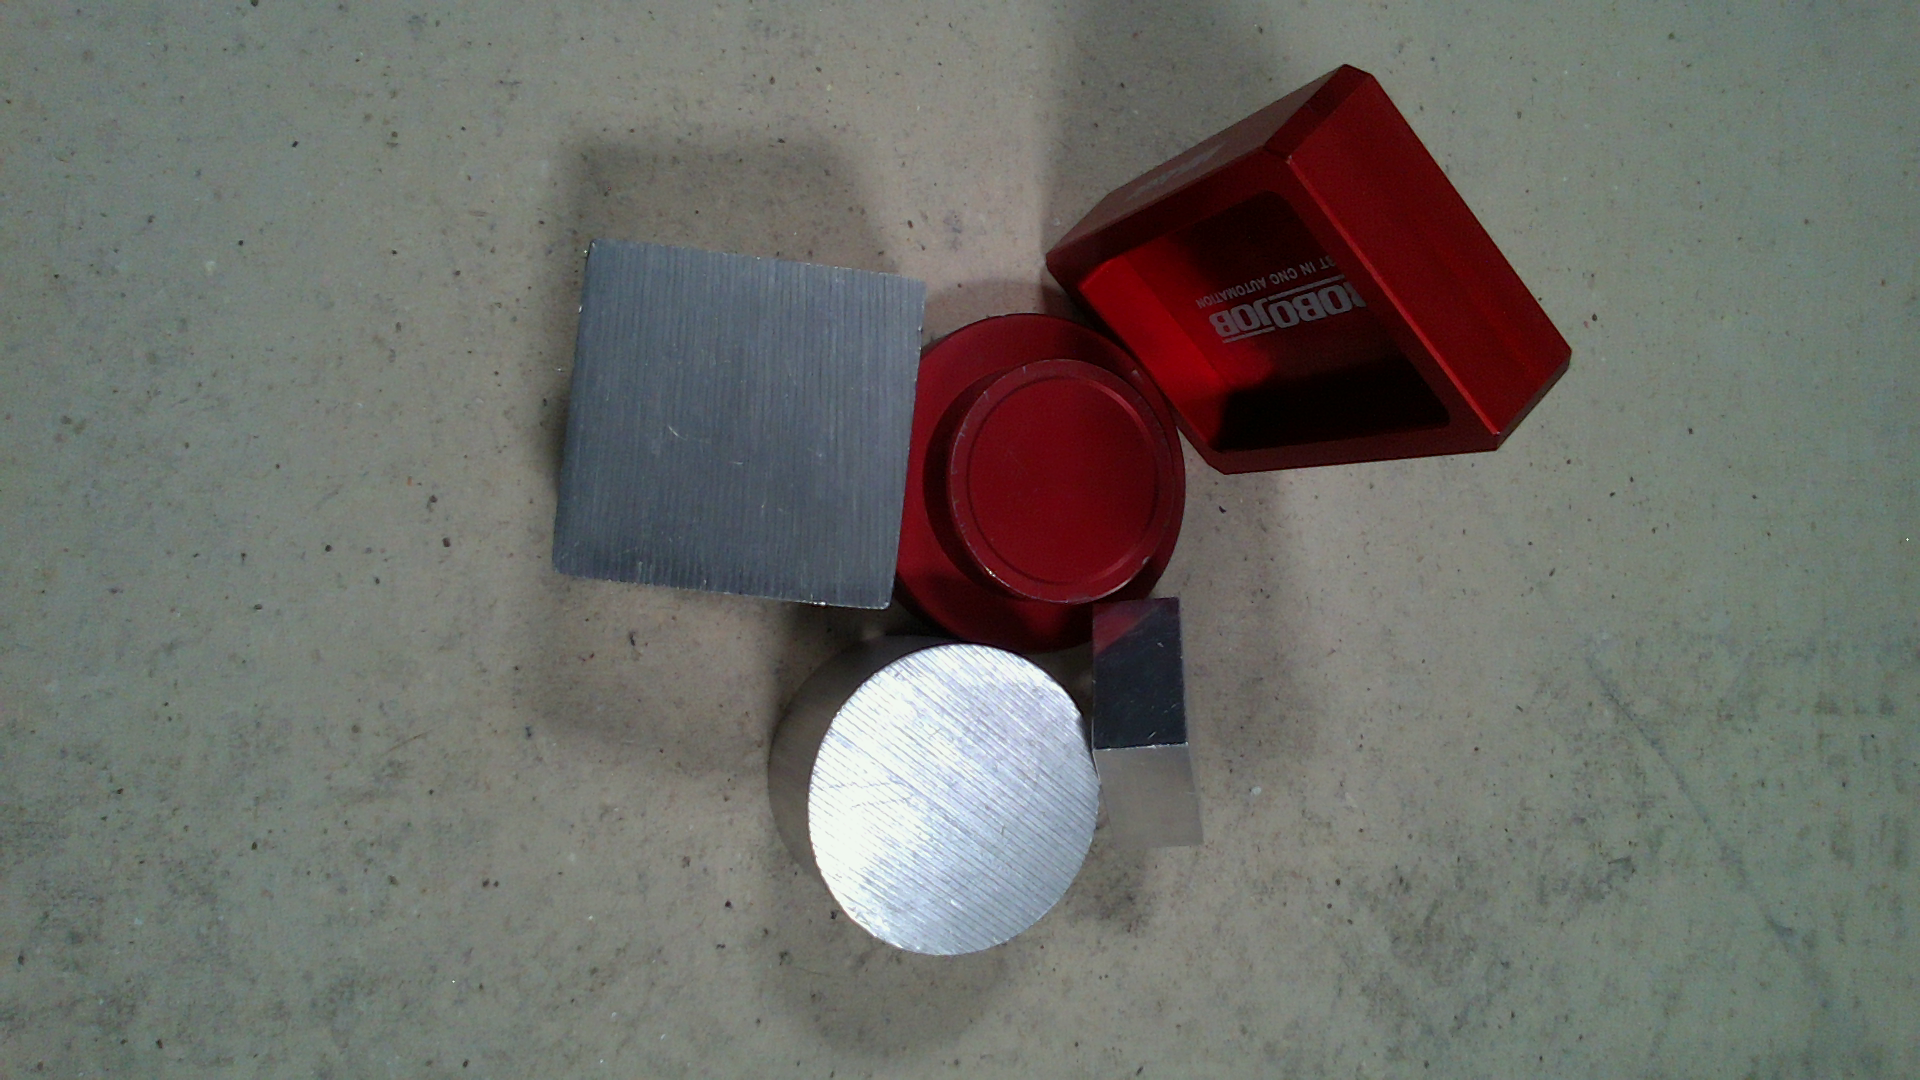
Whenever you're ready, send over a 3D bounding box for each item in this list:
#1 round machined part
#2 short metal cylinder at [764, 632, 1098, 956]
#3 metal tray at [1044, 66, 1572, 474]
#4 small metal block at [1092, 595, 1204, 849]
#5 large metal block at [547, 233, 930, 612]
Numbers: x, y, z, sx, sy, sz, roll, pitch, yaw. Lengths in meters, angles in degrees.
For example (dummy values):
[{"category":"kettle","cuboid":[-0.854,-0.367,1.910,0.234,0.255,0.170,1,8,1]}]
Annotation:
[{"category":"round machined part","cuboid":[0.021,-0.017,0.393,0.098,0.042,0.098,0,90,-20]},{"category":"short metal cylinder","cuboid":[-0.009,0.067,0.377,0.080,0.050,0.080,0,90,-20]},{"category":"metal tray","cuboid":[0.084,-0.063,0.367,0.030,0.130,0.090,-46,104,-14]},{"category":"small metal block","cuboid":[0.053,0.052,0.388,0.025,0.050,0.050,-5,137,11]},{"category":"large metal block","cuboid":[-0.053,-0.027,0.348,0.080,0.050,0.080,7,88,-3]}]
